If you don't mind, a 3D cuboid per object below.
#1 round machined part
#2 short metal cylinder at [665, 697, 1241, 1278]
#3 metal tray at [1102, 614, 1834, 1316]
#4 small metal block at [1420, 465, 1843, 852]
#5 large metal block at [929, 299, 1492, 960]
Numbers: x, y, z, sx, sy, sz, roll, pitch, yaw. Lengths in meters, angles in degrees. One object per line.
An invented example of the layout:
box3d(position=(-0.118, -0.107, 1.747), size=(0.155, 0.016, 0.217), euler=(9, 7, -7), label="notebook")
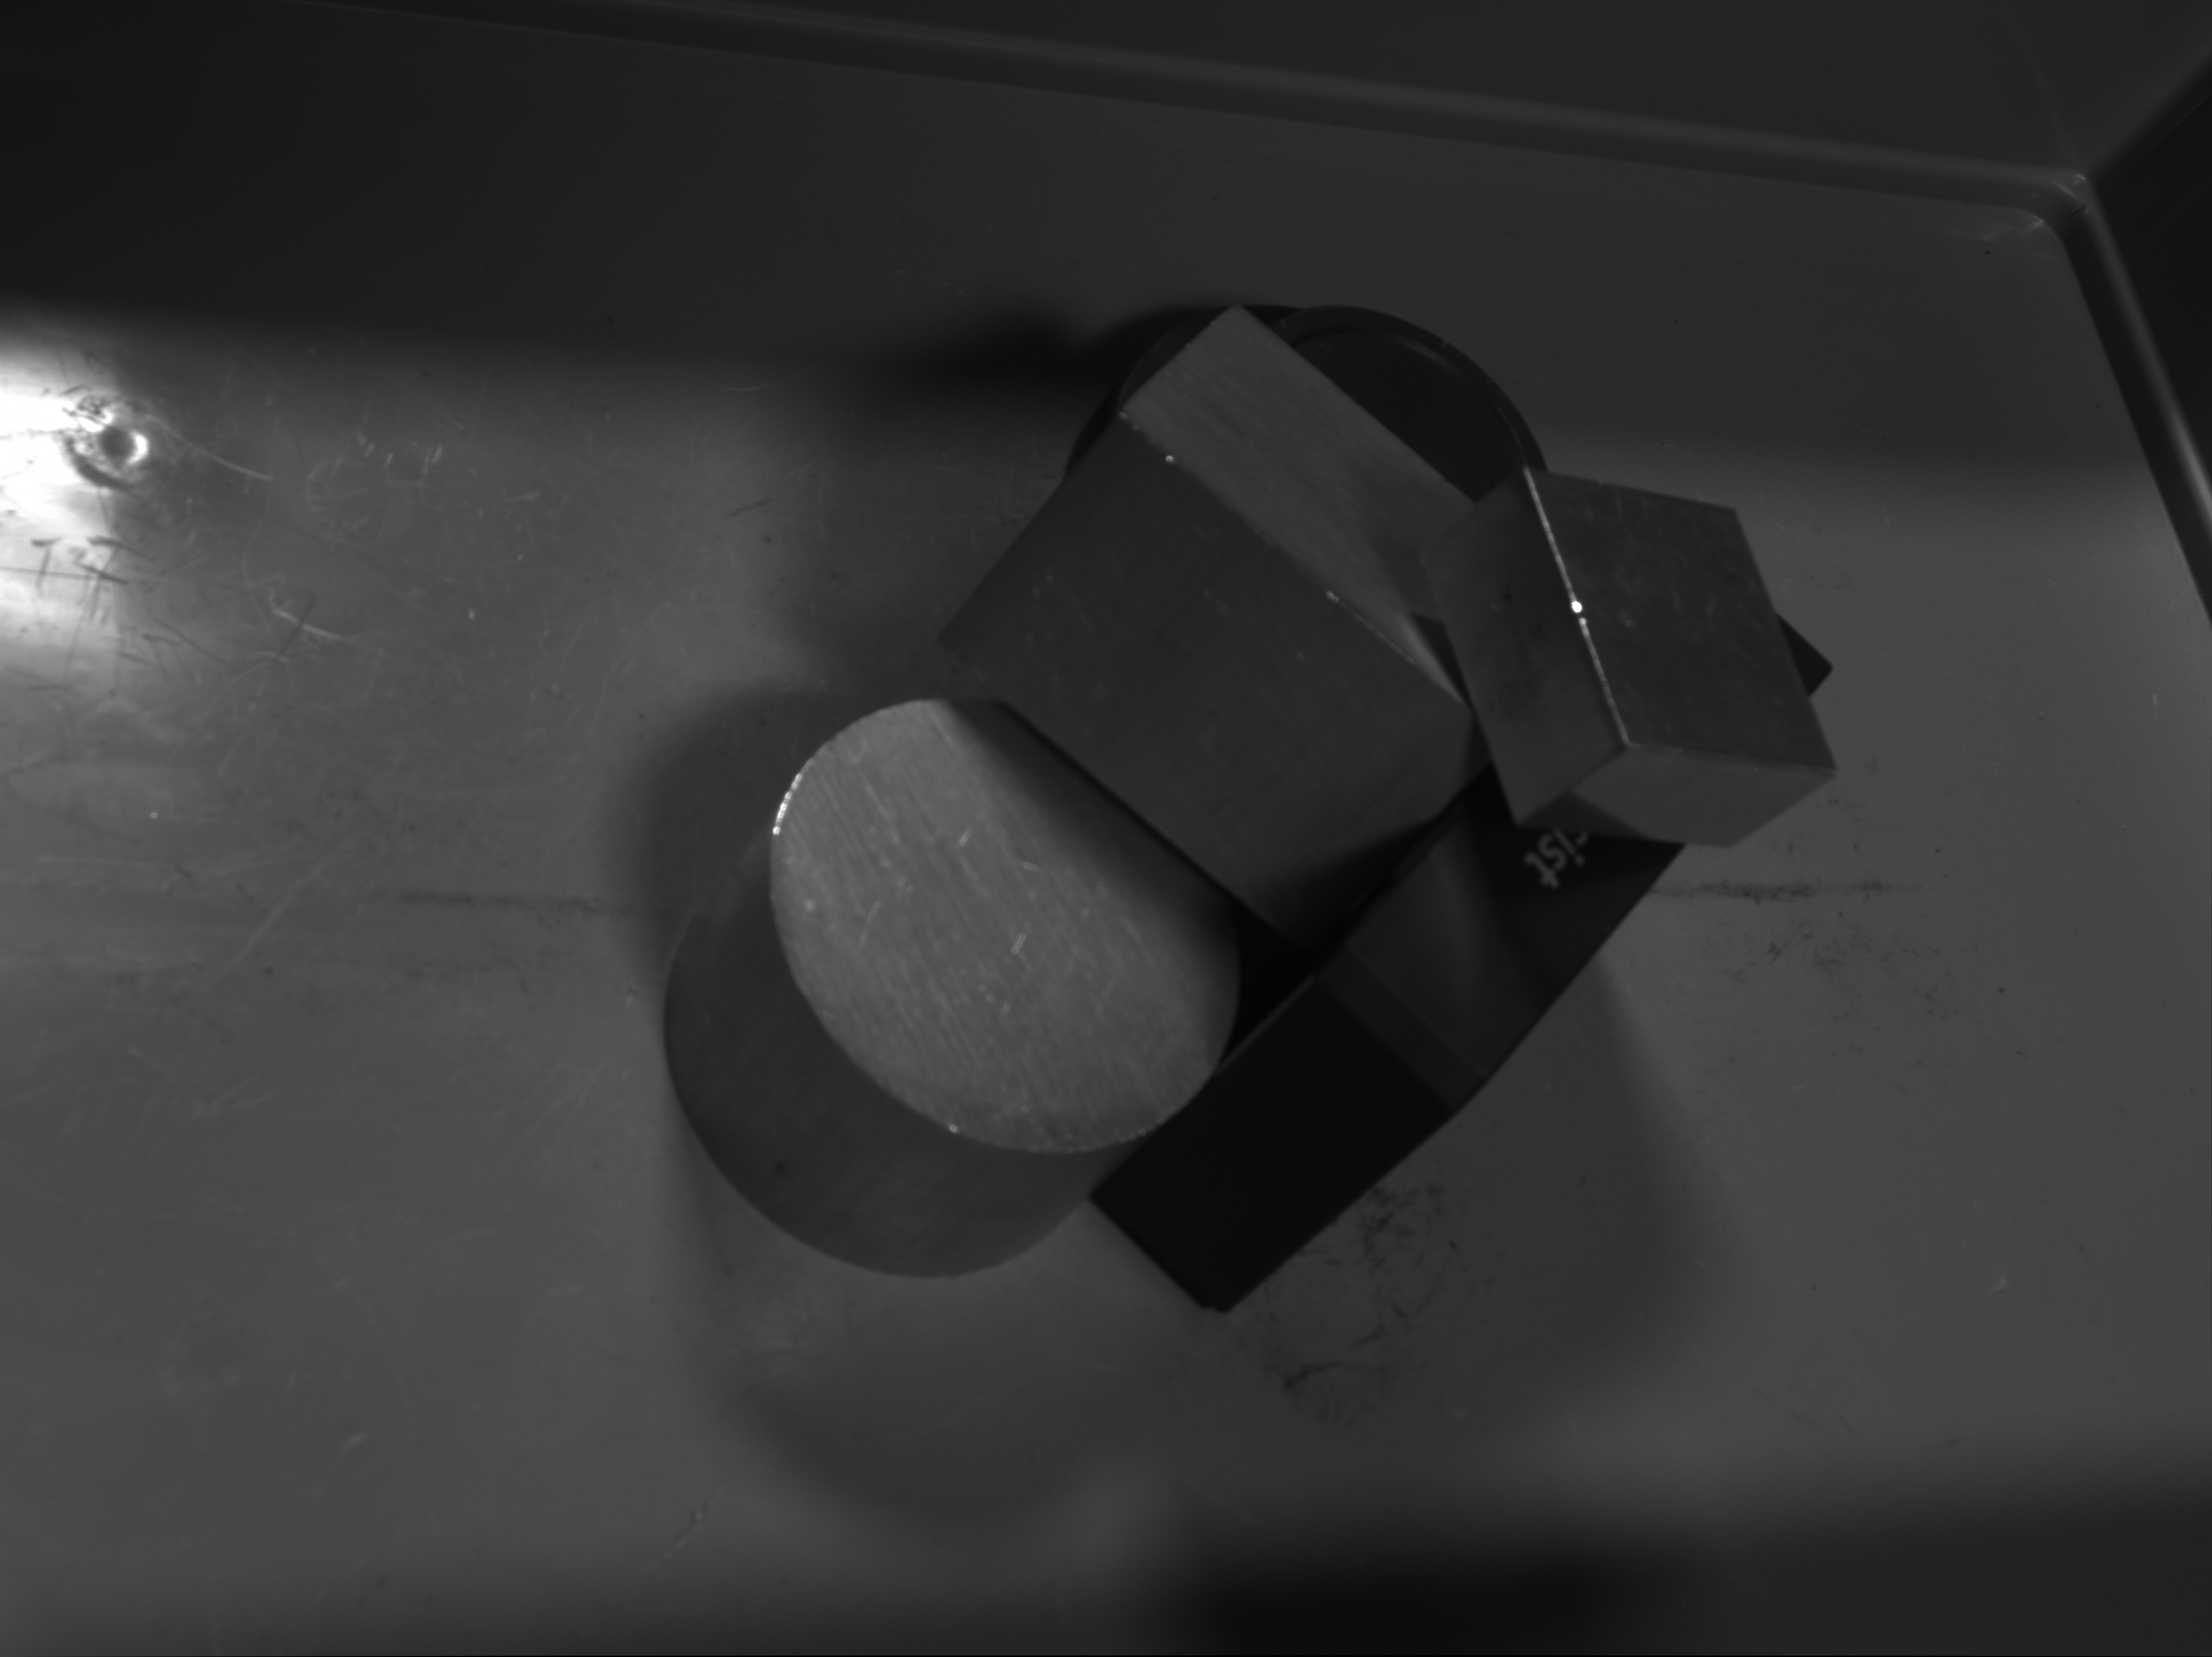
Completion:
box3d(position=(0.045, -0.058, 0.687), size=(0.098, 0.042, 0.098), euler=(14, 56, -21), label="round machined part")
box3d(position=(-0.025, 0.026, 0.593), size=(0.080, 0.050, 0.080), euler=(14, 56, -21), label="short metal cylinder")
box3d(position=(0.062, 0.017, 0.619), size=(0.030, 0.090, 0.130), euler=(43, 51, 3), label="metal tray")
box3d(position=(0.082, -0.026, 0.576), size=(0.050, 0.025, 0.050), euler=(6, 58, -41), label="small metal block")
box3d(position=(0.028, -0.035, 0.613), size=(0.080, 0.050, 0.080), euler=(40, 26, -1), label="large metal block")
